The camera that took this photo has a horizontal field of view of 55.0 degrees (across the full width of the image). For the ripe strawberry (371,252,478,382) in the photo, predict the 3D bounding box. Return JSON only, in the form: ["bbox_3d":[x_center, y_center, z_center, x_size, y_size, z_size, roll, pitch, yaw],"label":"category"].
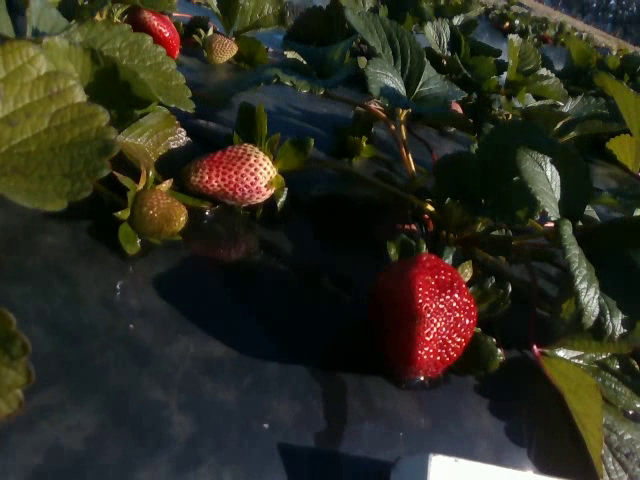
[{"bbox_3d":[0.032,0.028,0.212,0.058,0.066,0.062,-35,-3,-6],"label":"ripe strawberry"}]
